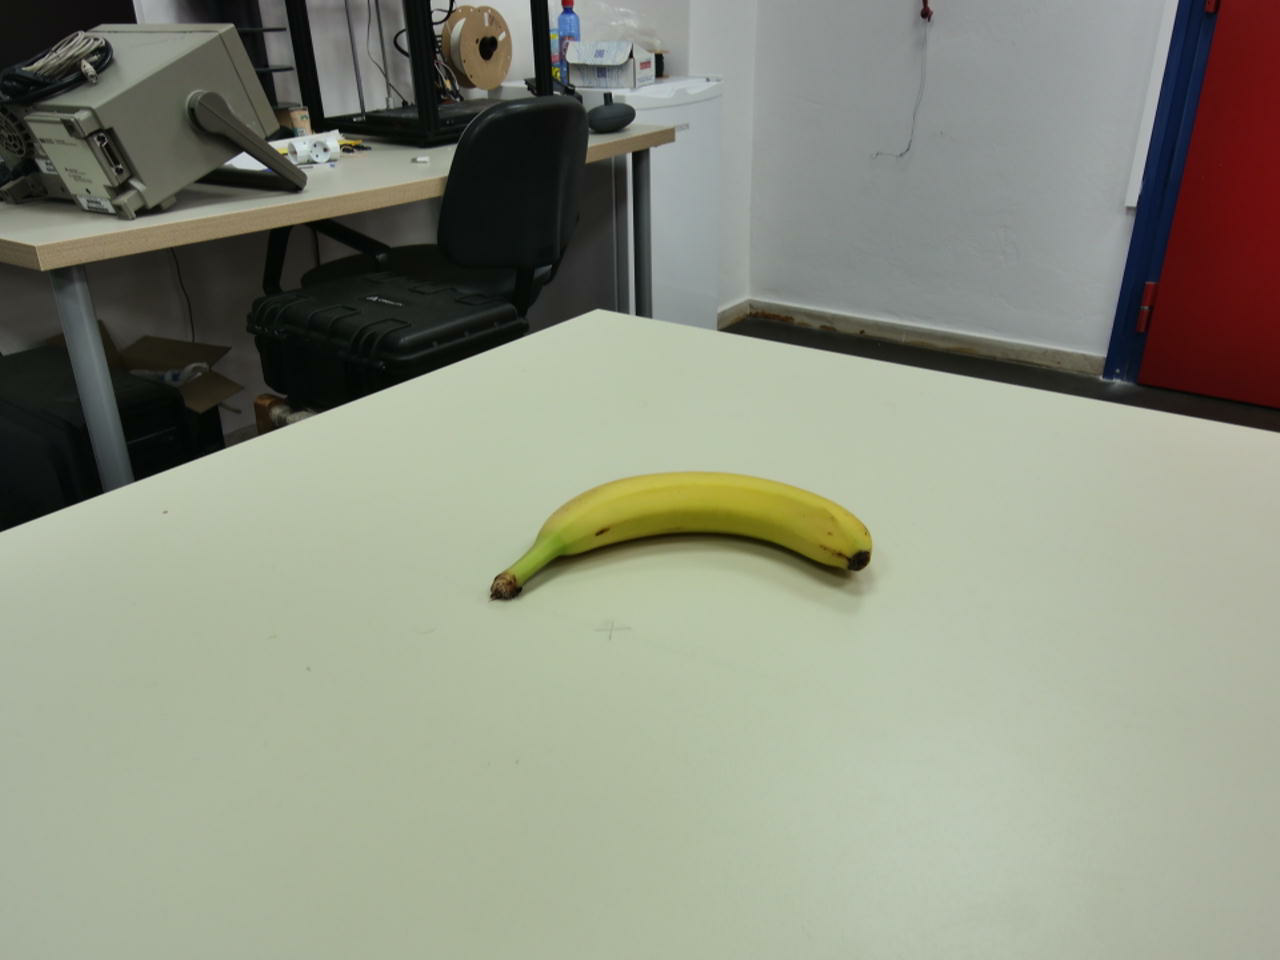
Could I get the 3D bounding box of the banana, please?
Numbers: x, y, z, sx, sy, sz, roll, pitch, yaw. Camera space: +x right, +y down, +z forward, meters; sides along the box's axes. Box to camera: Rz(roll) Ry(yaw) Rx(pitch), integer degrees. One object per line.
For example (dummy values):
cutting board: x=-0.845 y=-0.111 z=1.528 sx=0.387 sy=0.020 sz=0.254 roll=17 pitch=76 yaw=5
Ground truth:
banana: x=0.022 y=0.025 z=0.547 sx=0.196 sy=0.041 sz=0.094 roll=0 pitch=24 yaw=1
